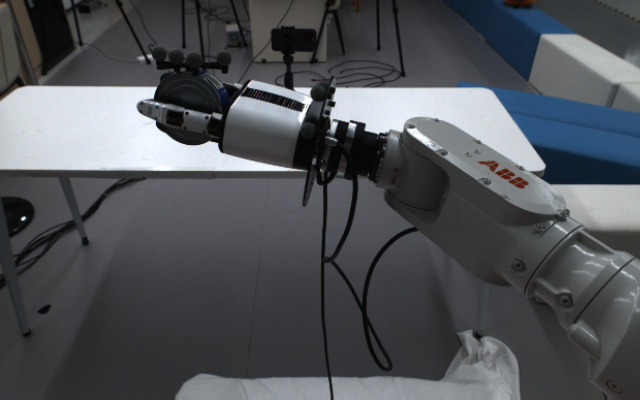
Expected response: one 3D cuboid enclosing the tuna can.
[{"bbox_3d":[-0.150,-0.111,0.577,0.085,0.085,0.034,8,22,9],"label":"tuna can"}]
